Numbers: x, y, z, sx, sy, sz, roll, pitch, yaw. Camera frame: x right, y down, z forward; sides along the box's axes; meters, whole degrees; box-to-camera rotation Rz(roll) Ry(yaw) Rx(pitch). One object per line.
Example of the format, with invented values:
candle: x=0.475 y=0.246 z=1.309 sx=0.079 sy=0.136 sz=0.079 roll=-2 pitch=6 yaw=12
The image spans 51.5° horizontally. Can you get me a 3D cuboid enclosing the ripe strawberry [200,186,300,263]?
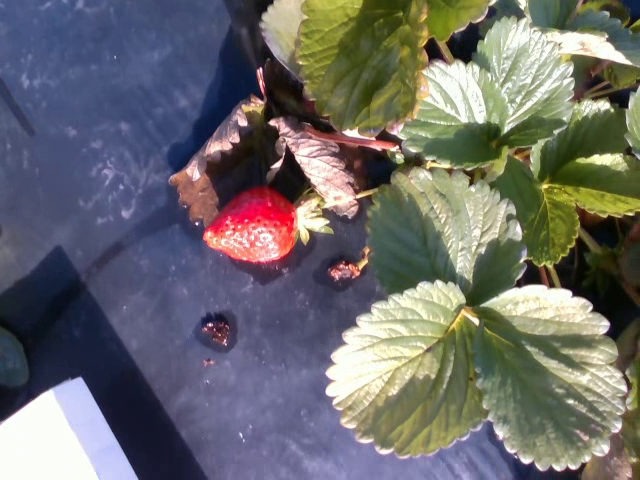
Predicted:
ripe strawberry: x=-0.036 y=-0.002 z=0.282 sx=0.054 sy=0.047 sz=0.037 roll=-14 pitch=3 yaw=-17
